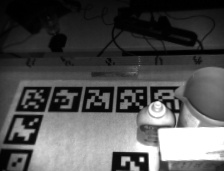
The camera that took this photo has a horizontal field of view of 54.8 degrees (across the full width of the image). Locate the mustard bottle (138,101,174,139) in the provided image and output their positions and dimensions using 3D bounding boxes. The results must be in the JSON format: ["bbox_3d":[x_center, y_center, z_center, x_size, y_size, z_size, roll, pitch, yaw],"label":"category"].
[{"bbox_3d":[0.111,0.077,0.547,0.095,0.193,0.058,9,60,14],"label":"mustard bottle"}]

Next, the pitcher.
[{"bbox_3d":[0.241,0.067,0.524,0.188,0.244,0.133,3,57,12],"label":"pitcher"}]

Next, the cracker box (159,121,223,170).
[{"bbox_3d":[0.190,0.156,0.477,0.163,0.215,0.071,-5,54,8],"label":"cracker box"}]
